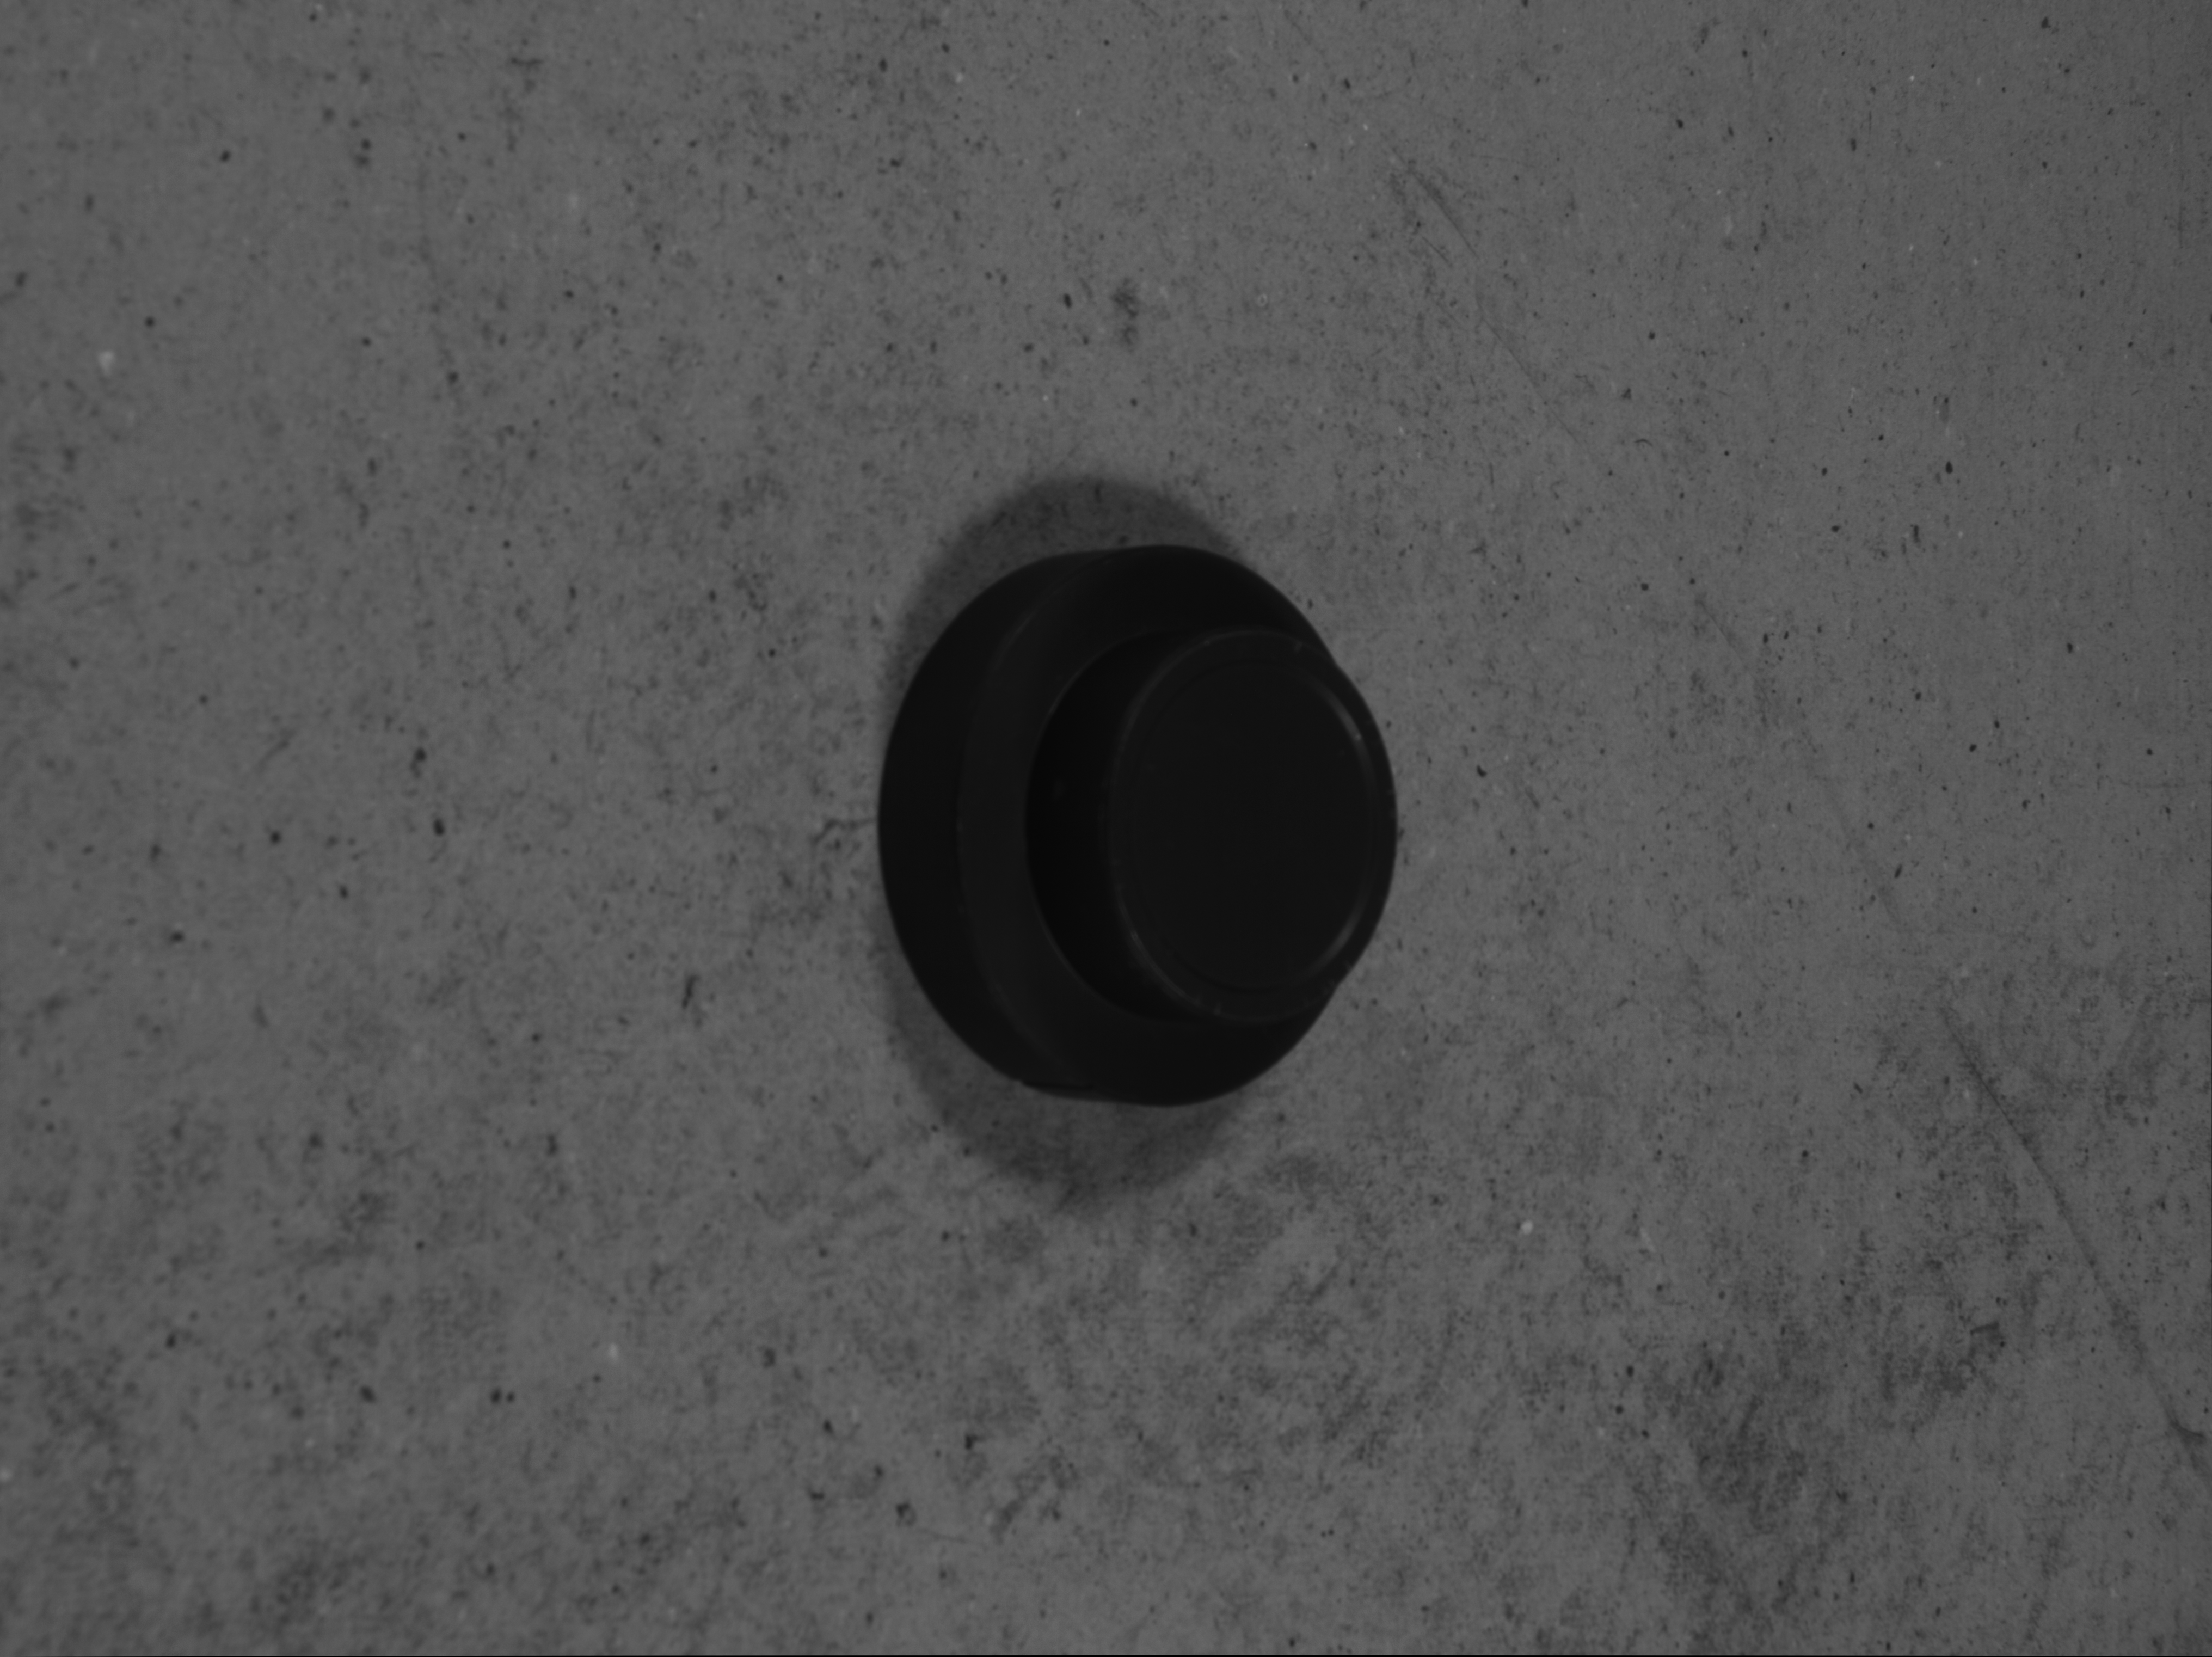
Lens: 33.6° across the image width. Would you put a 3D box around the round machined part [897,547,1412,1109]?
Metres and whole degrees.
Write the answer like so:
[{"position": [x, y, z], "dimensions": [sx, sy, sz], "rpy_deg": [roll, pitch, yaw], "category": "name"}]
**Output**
[{"position": [0.015, 0.000, 0.638], "dimensions": [0.098, 0.042, 0.098], "rpy_deg": [0, 90, -40], "category": "round machined part"}]
